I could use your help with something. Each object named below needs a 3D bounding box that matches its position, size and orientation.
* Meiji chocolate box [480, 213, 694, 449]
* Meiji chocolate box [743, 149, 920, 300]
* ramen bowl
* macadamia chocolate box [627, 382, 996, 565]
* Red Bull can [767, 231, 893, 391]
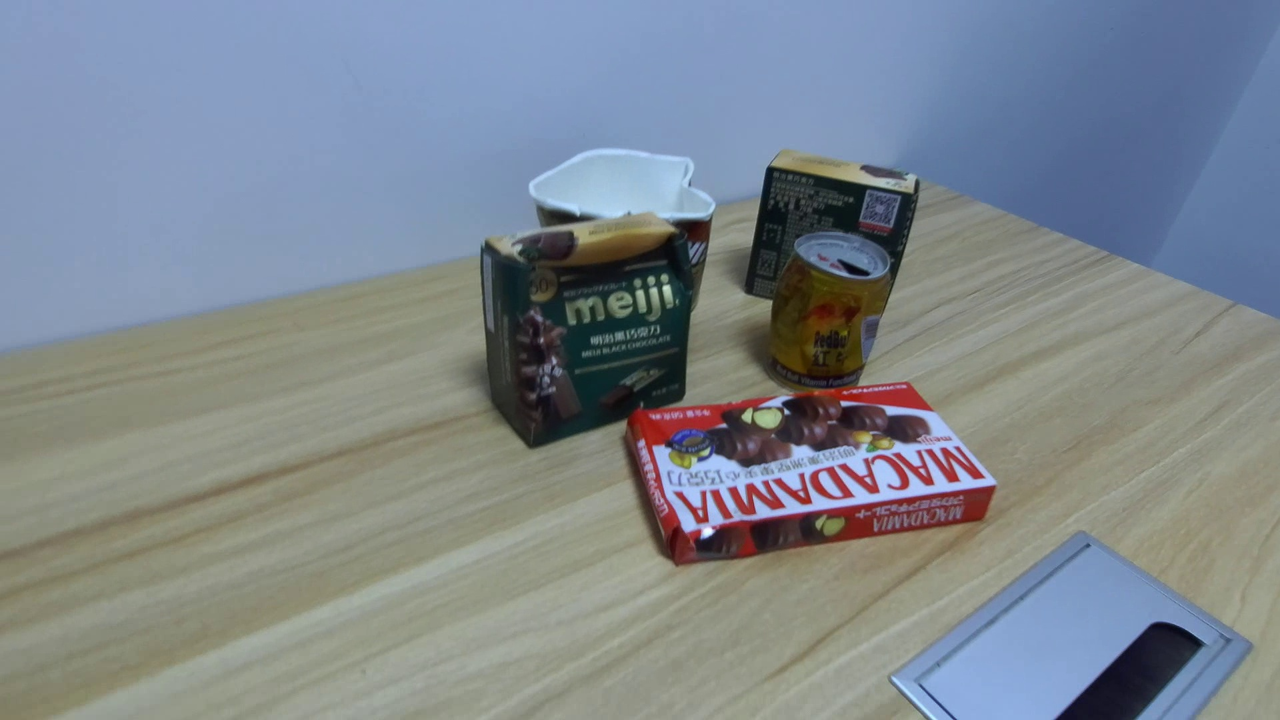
[{"bbox_3d":[-0.028,-0.022,0.419,0.118,0.117,0.051,-15,31,-26],"label":"Meiji chocolate box"},{"bbox_3d":[0.149,-0.097,0.549,0.113,0.111,0.058,16,35,16],"label":"Meiji chocolate box"},{"bbox_3d":[-0.016,-0.091,0.529,0.134,0.097,0.113,-3,37,-13],"label":"ramen bowl"},{"bbox_3d":[0.090,0.056,0.392,0.183,0.028,0.105,-5,35,-13],"label":"macadamia chocolate box"},{"bbox_3d":[0.121,-0.030,0.460,0.072,0.092,0.072,3,36,-2],"label":"Red Bull can"}]
